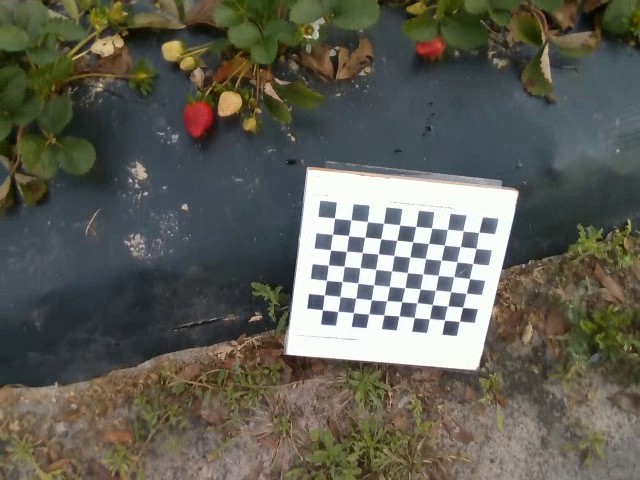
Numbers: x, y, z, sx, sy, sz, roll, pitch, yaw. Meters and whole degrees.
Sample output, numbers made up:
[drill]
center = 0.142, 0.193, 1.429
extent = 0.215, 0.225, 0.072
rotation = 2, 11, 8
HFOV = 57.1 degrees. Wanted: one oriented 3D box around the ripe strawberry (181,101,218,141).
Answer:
[ripe strawberry]
center = -0.163, -0.158, 0.774
extent = 0.050, 0.059, 0.034
rotation = -5, -30, 0
